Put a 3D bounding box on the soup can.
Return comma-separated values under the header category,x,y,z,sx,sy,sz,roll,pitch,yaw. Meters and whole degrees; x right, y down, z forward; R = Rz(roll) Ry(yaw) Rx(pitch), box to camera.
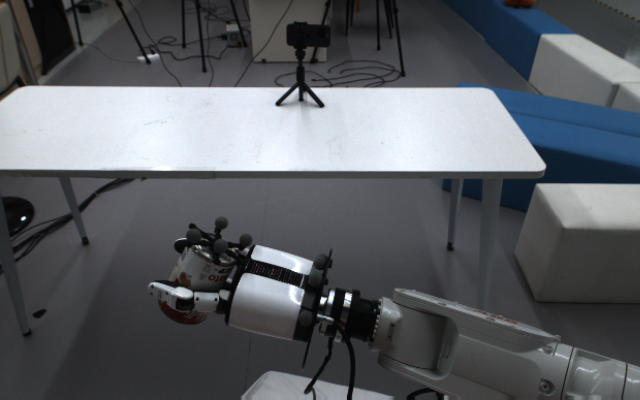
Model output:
category,x,y,z,sx,sy,sz,roll,pitch,yaw
soup can,-0.157,0.102,0.624,0.067,0.101,0.067,28,18,-10
